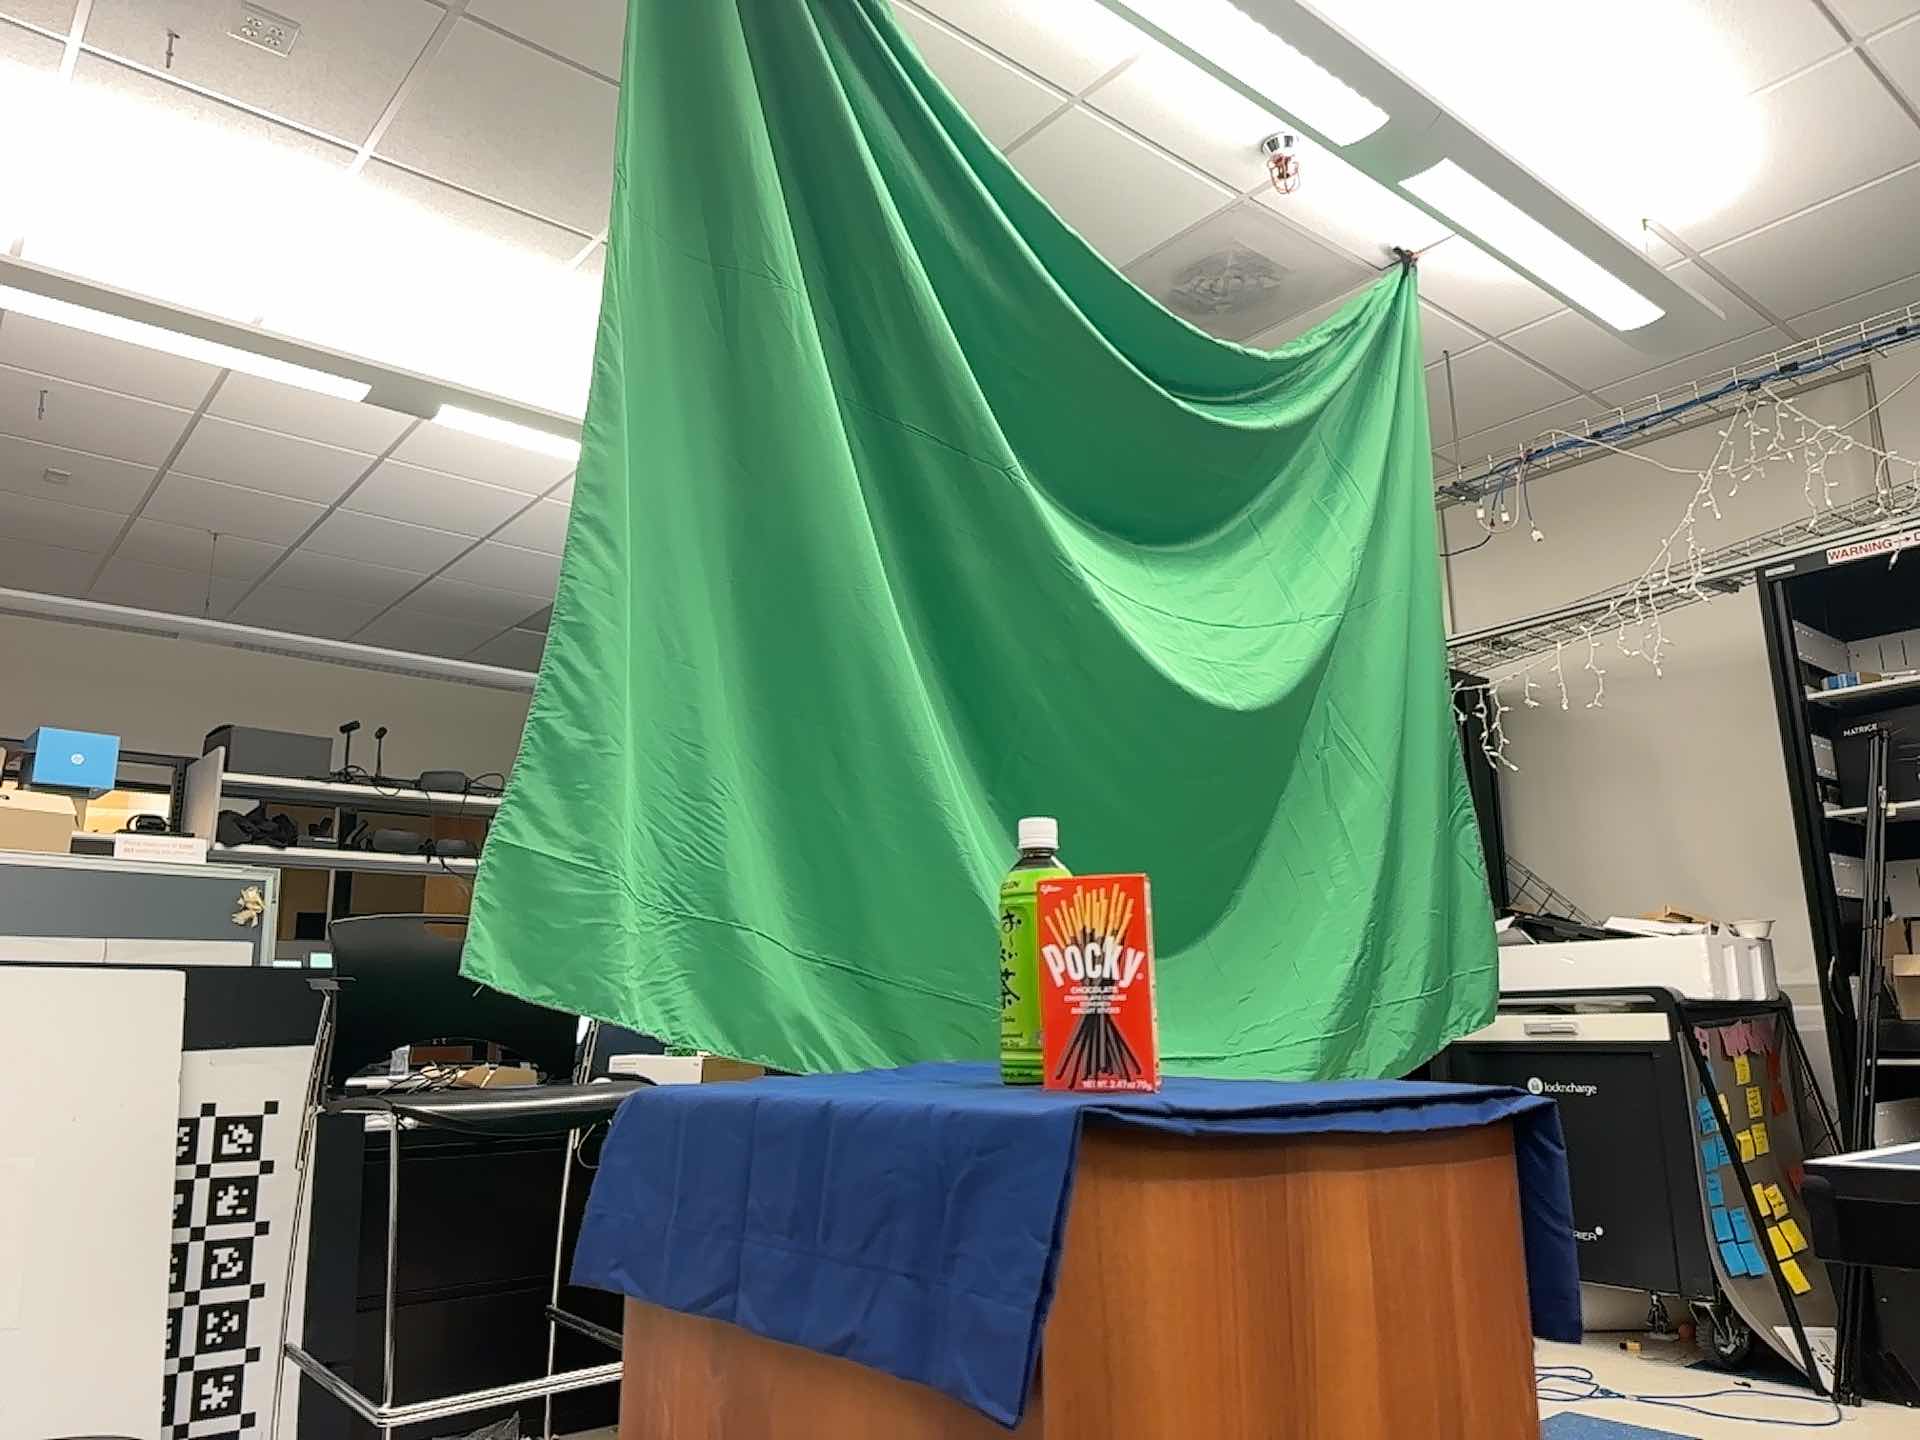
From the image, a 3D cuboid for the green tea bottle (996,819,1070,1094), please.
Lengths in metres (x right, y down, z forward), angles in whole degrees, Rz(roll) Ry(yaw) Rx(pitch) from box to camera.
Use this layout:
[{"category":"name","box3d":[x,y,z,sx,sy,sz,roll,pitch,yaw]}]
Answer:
[{"category":"green tea bottle","box3d":[0.063,0.185,1.064,0.073,0.212,0.073,-1,-13,0]}]

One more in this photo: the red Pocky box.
[{"category":"red Pocky box","box3d":[0.101,0.185,0.950,0.083,0.155,0.028,-5,-11,21]}]
